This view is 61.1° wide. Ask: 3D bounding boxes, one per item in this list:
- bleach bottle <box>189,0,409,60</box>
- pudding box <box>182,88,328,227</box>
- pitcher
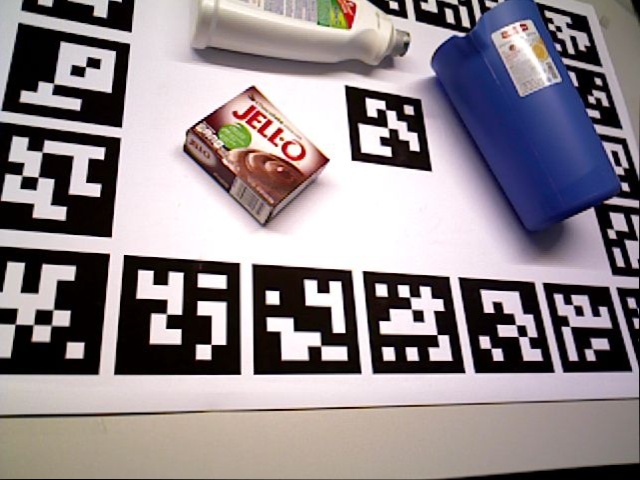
[{"bbox_3d":[-0.014,-0.239,0.596,0.247,0.069,0.102,3,72,-23],"label":"bleach bottle"},{"bbox_3d":[-0.061,-0.080,0.521,0.114,0.039,0.088,47,54,0],"label":"pudding box"},{"bbox_3d":[0.240,-0.124,0.630,0.185,0.135,0.242,-11,76,-61],"label":"pitcher"}]
